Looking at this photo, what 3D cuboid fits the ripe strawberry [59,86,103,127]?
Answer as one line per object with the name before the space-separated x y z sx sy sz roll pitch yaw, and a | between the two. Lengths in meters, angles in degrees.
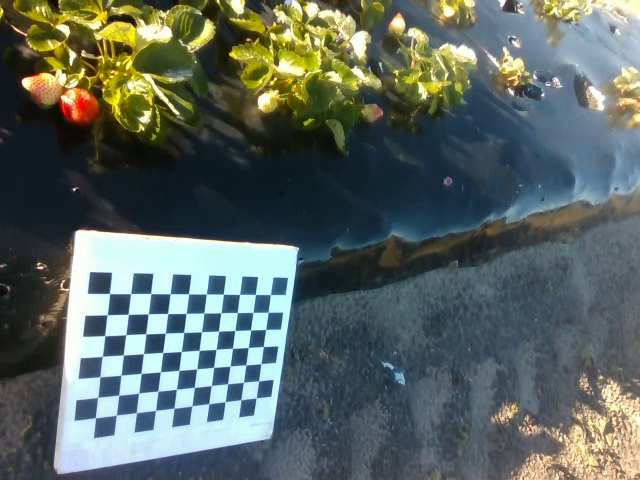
ripe strawberry | -0.236 -0.130 0.611 0.040 0.038 0.056 -9 18 -9
